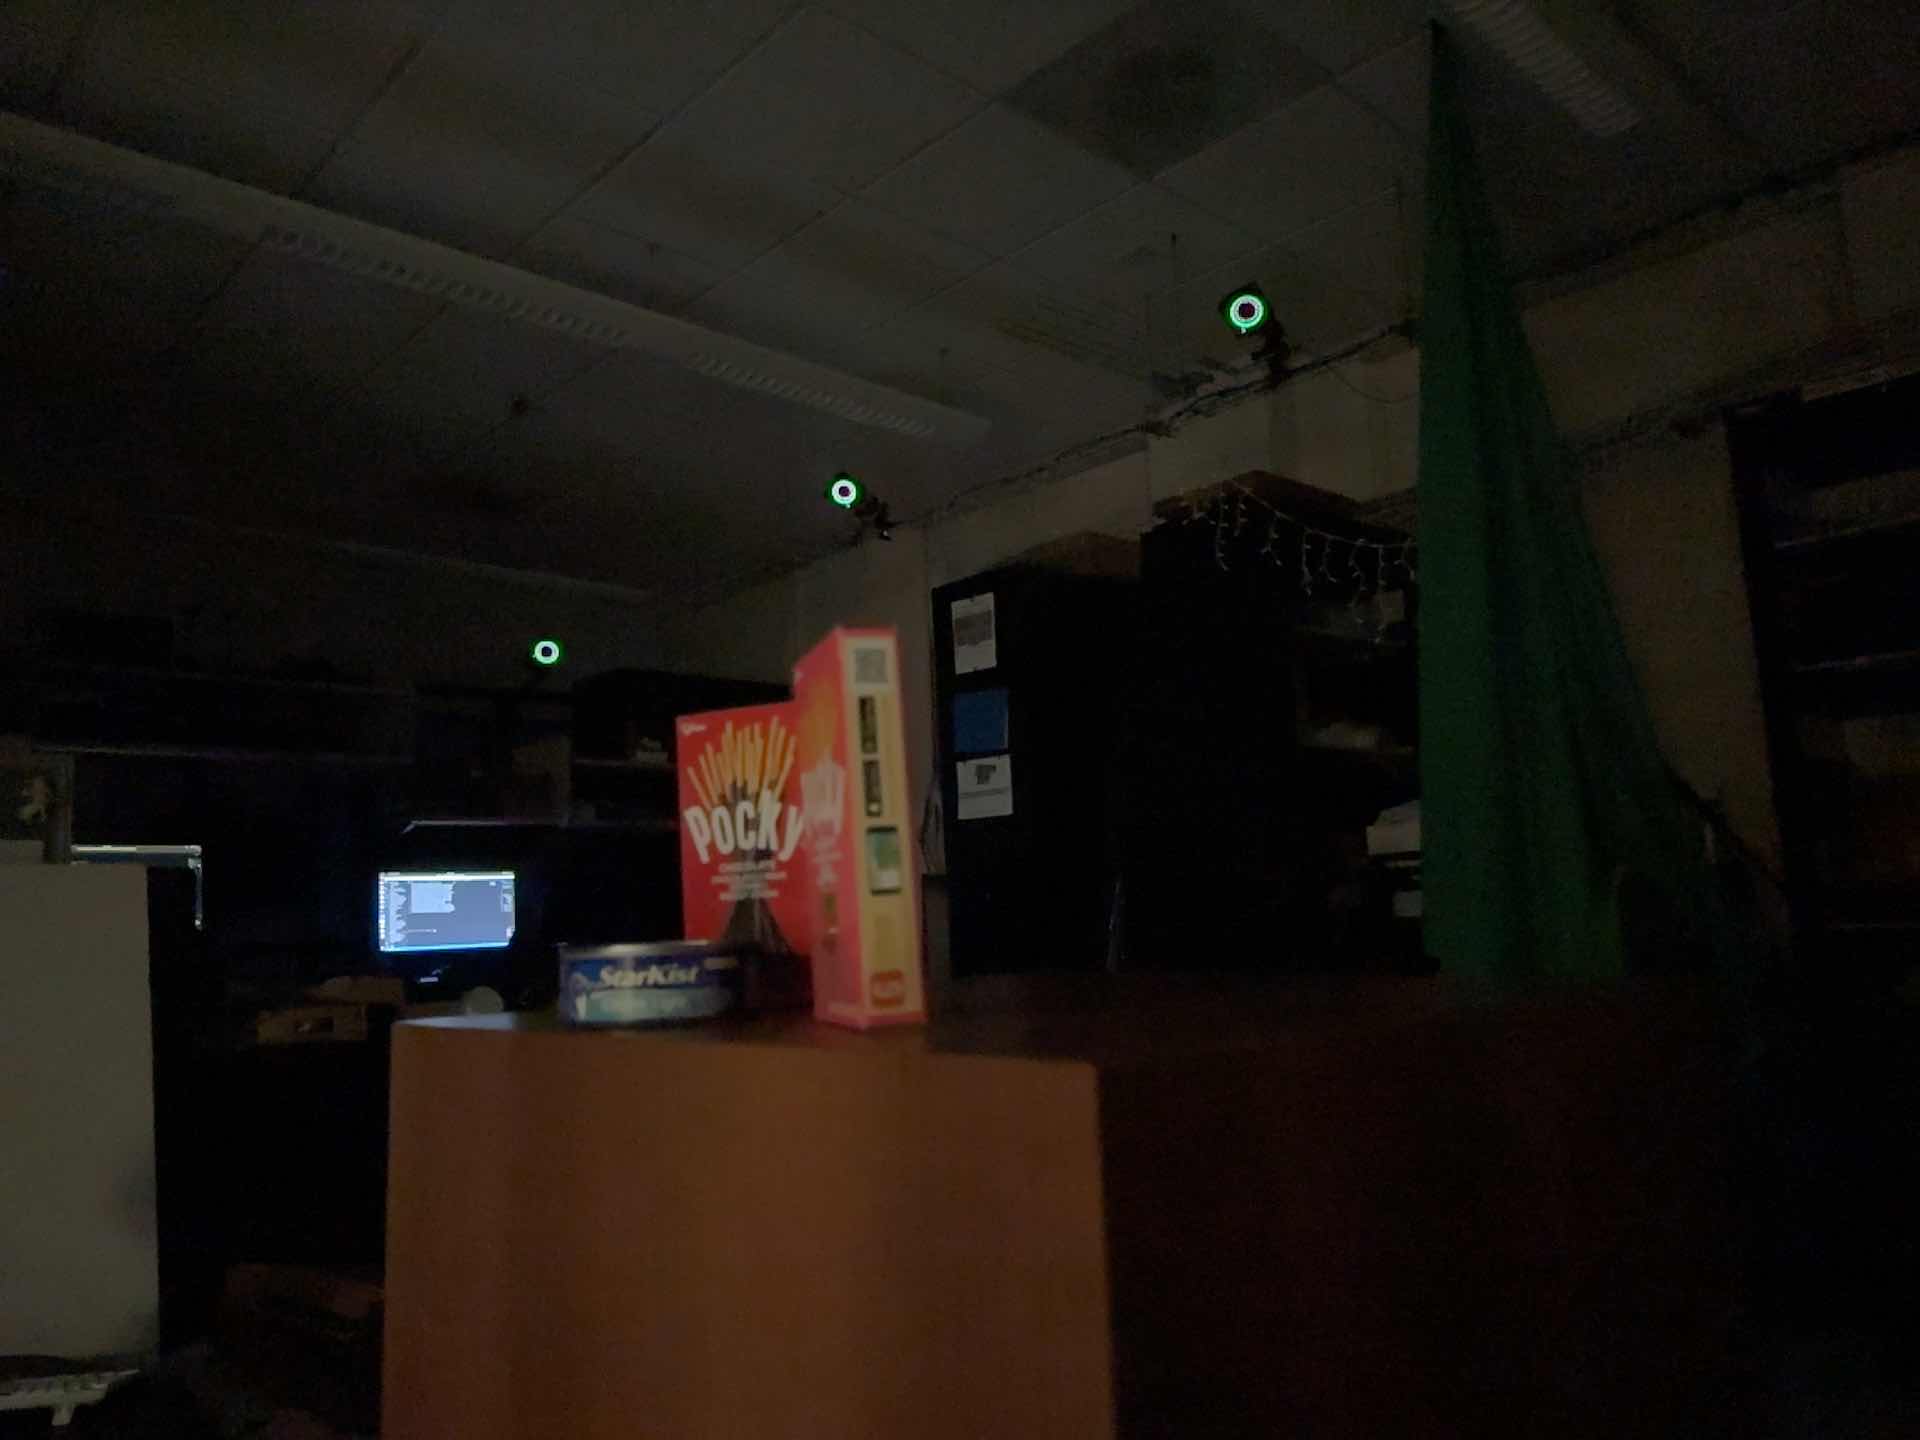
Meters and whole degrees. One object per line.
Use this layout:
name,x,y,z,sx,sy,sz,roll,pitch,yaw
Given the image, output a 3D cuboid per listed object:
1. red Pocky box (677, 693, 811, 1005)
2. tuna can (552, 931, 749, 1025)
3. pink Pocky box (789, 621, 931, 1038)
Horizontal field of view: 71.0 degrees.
red Pocky box,-0.104,0.065,0.684,0.083,0.155,0.028,-6,-6,31
tuna can,-0.136,0.113,0.596,0.083,0.034,0.083,-3,-7,0
pink Pocky box,-0.042,0.044,0.535,0.029,0.155,0.084,-2,-7,-20
